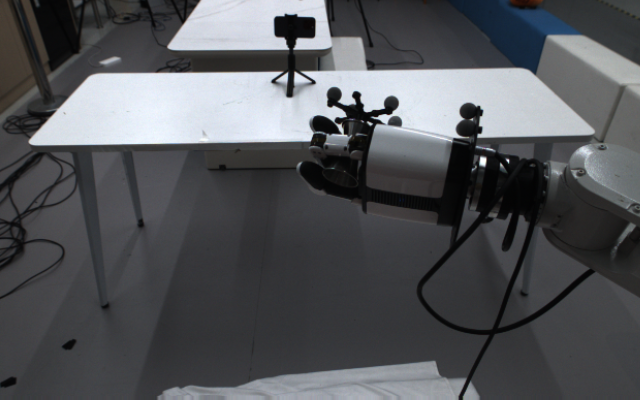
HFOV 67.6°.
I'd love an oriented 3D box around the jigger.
[{"bbox_3d":[0.037,-0.054,0.557,0.043,0.043,0.071,13,70,16],"label":"jigger"}]
